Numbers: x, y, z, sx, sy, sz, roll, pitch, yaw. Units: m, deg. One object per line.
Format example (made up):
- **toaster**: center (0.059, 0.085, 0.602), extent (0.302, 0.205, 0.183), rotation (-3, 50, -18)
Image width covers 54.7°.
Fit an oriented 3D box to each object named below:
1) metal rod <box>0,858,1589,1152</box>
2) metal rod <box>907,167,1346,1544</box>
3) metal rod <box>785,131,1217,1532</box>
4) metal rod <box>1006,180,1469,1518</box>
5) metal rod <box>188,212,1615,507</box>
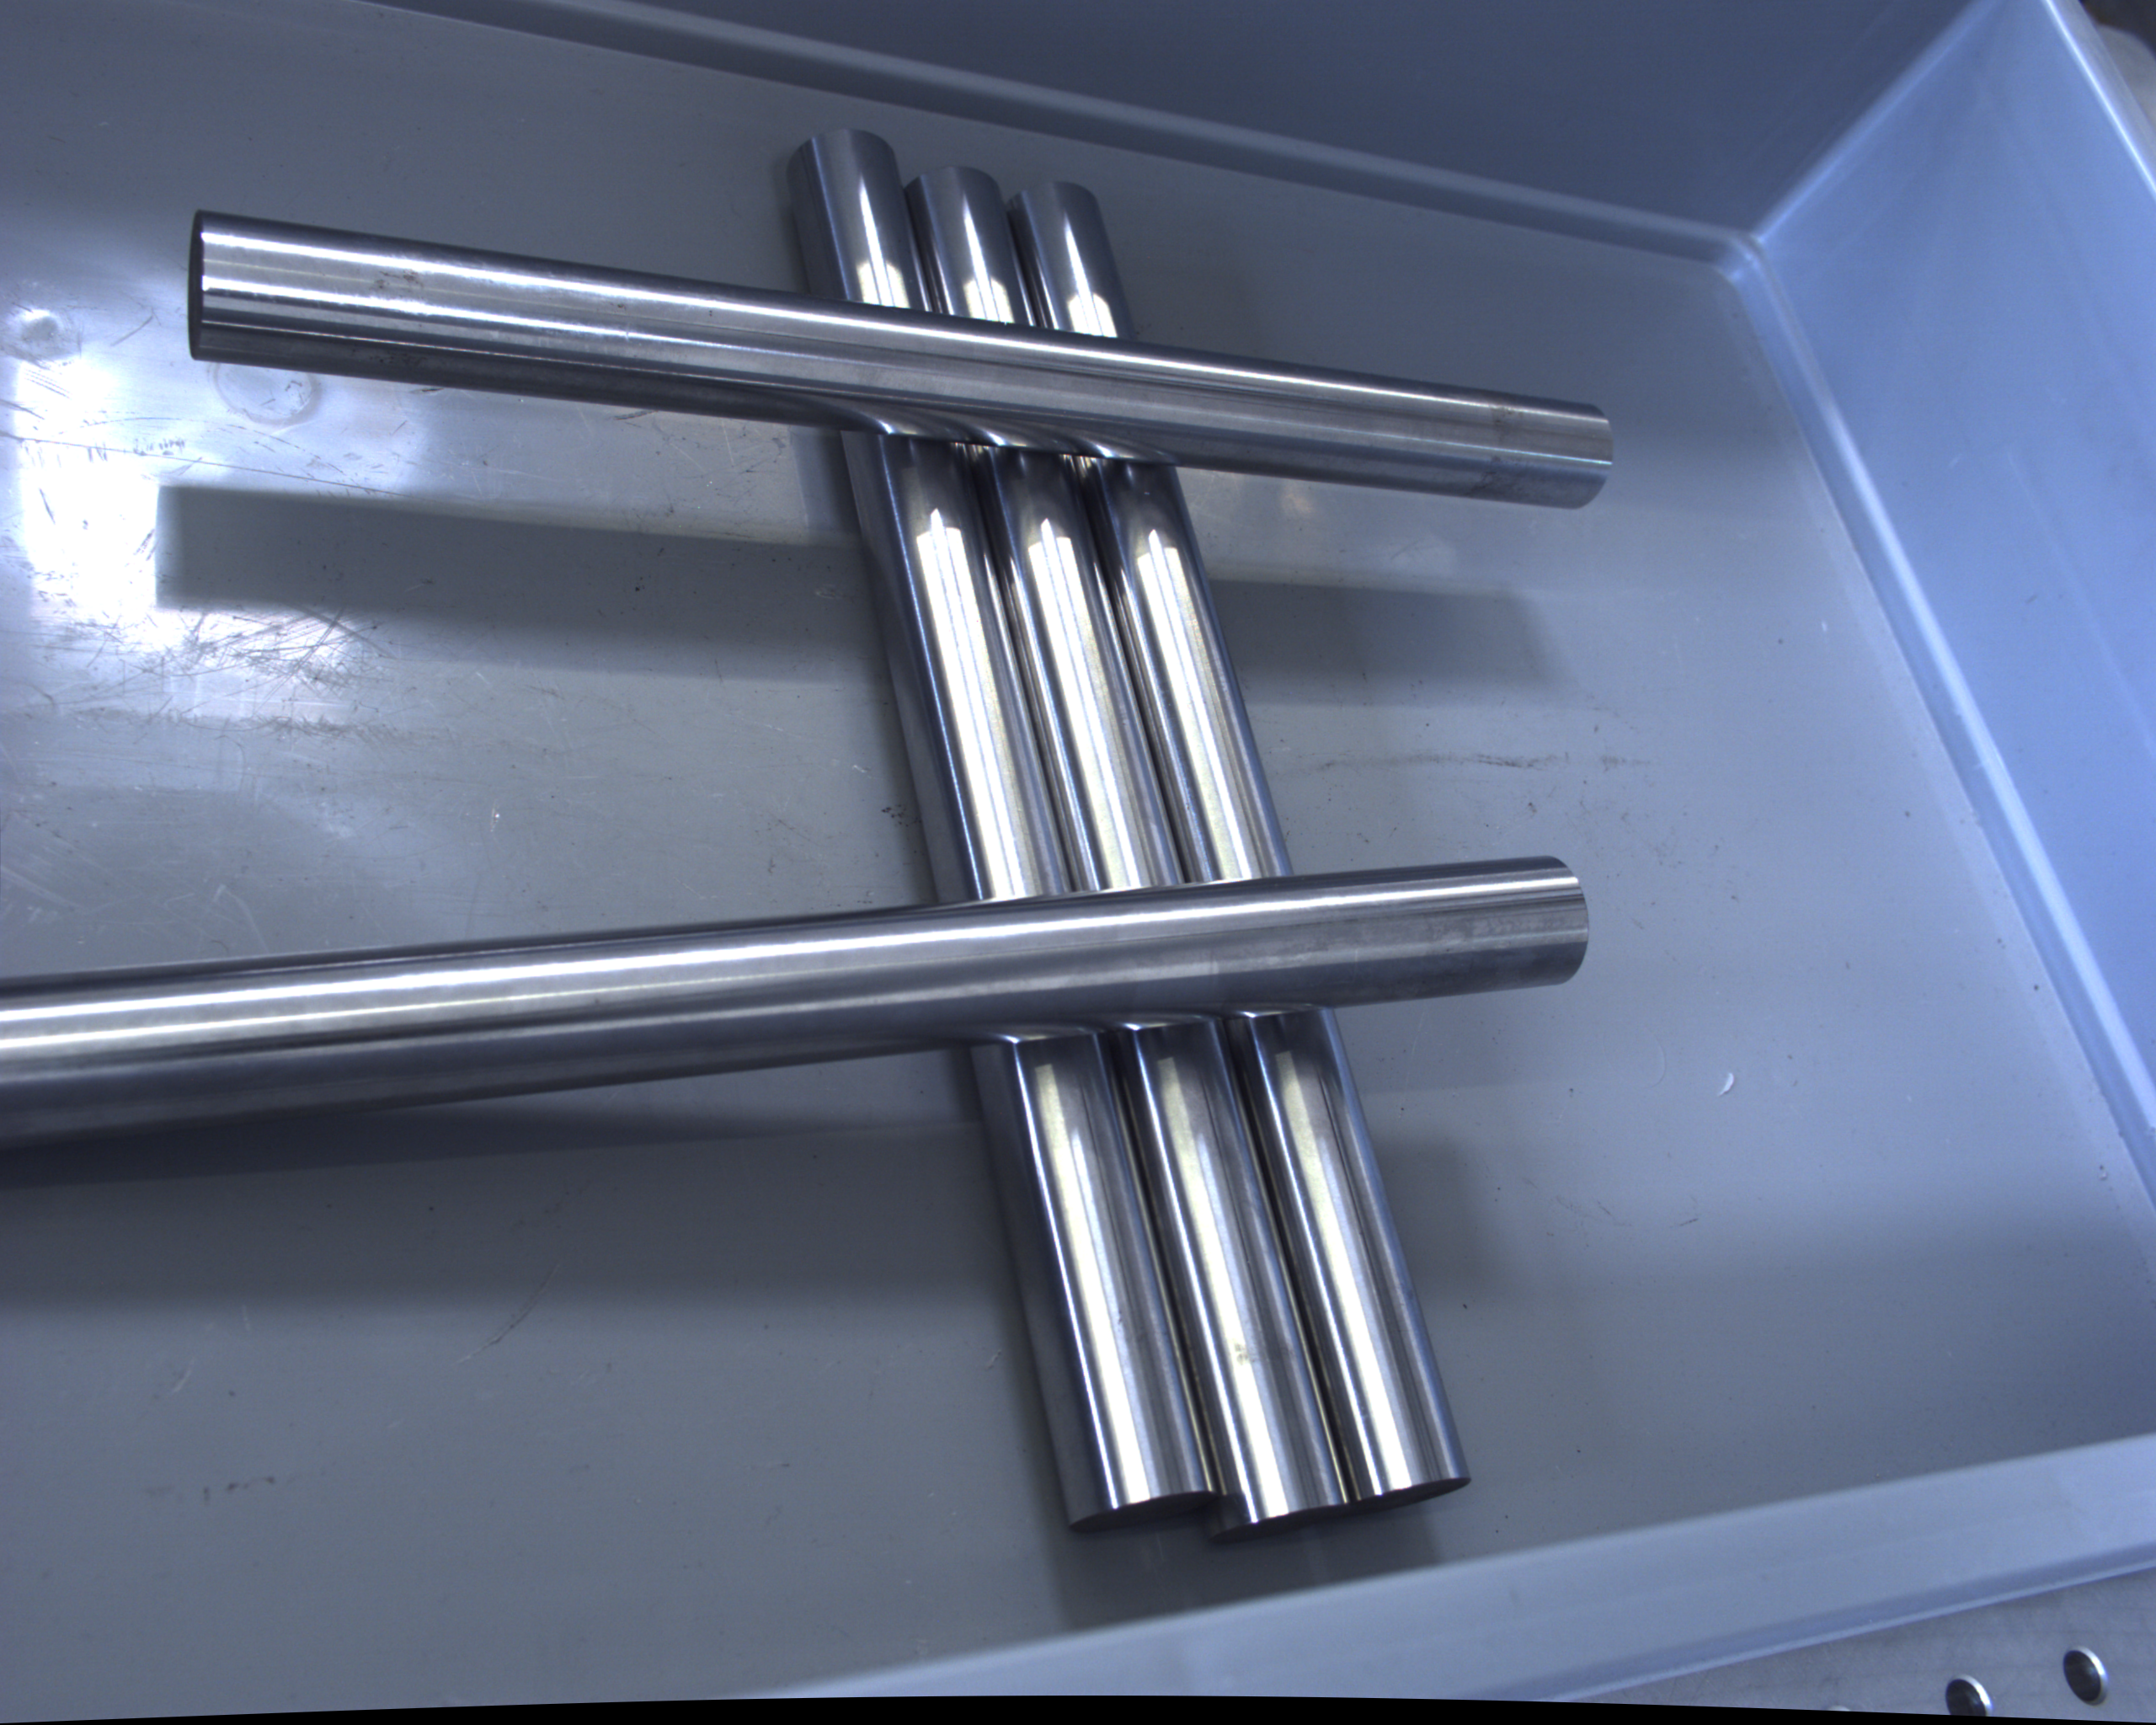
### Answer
- **metal rod**: center (-0.050, 0.021, 0.341), extent (0.303, 0.025, 0.025), rotation (-4, 64, -22)
- **metal rod**: center (0.002, -0.019, 0.417), extent (0.025, 0.025, 0.299), rotation (1, 61, -28)
- **metal rod**: center (-0.021, -0.024, 0.408), extent (0.025, 0.025, 0.299), rotation (1, 61, -28)
- **metal rod**: center (0.025, -0.020, 0.429), extent (0.025, 0.025, 0.299), rotation (1, 61, -28)
- **metal rod**: center (-0.015, -0.097, 0.422), extent (0.303, 0.025, 0.025), rotation (0, 62, -28)
